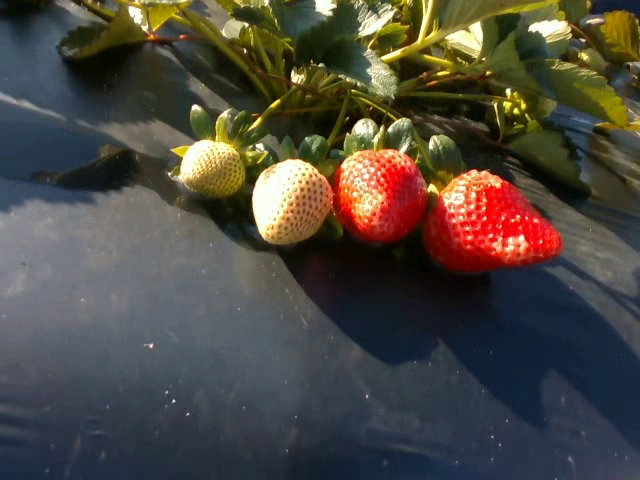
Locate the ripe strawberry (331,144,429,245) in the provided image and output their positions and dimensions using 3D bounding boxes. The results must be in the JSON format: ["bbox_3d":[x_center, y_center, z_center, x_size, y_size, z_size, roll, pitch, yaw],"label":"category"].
[{"bbox_3d":[0.024,-0.017,0.243,0.044,0.050,0.061,-45,9,24],"label":"ripe strawberry"}]

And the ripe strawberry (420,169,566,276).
[{"bbox_3d":[0.075,-0.004,0.252,0.056,0.052,0.067,-35,37,-22],"label":"ripe strawberry"}]
